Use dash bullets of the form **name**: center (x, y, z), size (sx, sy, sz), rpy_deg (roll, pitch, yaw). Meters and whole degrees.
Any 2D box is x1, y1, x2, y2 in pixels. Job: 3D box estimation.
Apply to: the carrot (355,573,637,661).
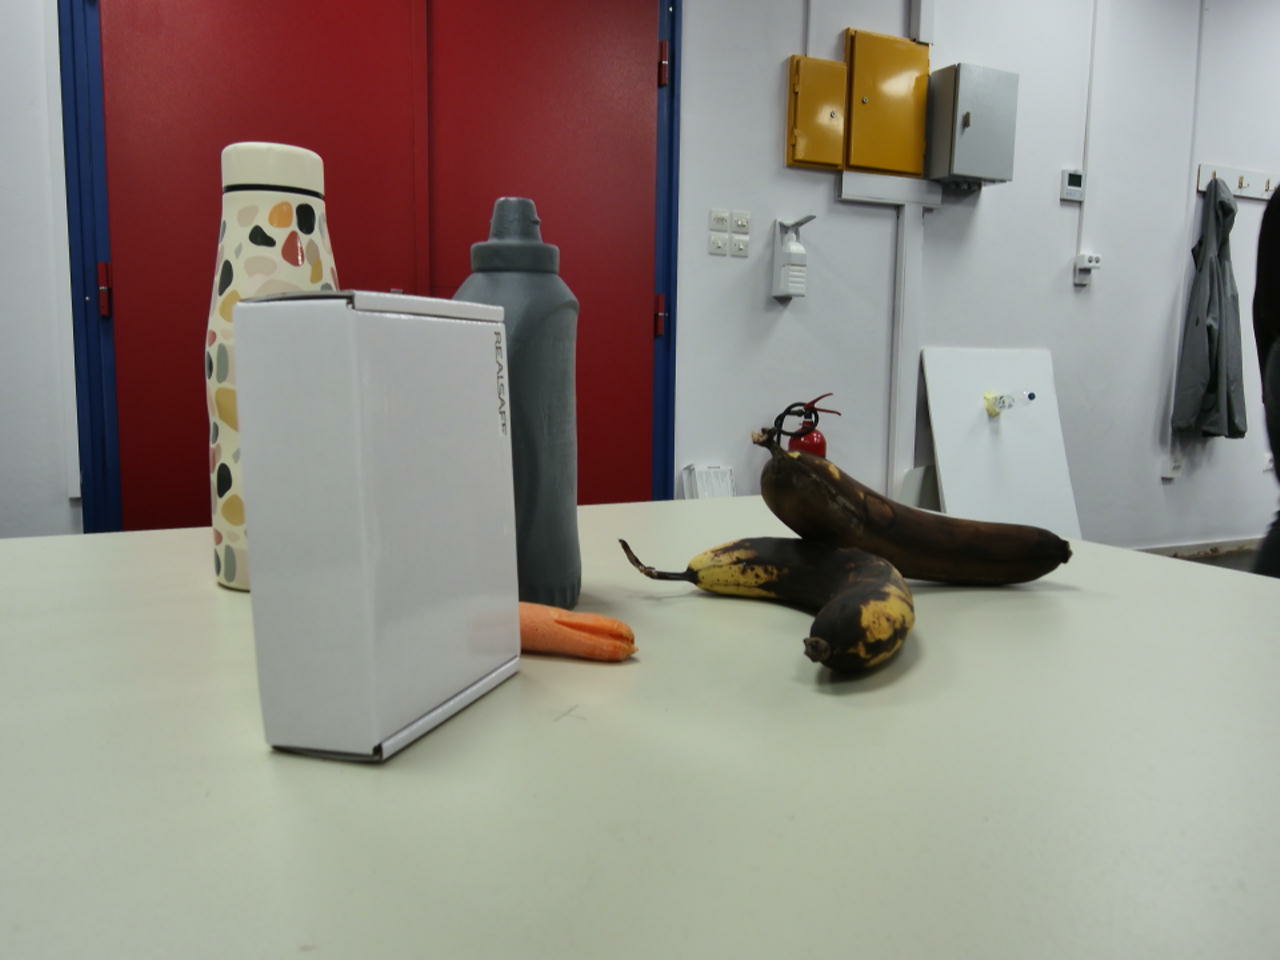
- **carrot**: center (-0.067, 0.061, 0.449), size (0.136, 0.032, 0.030), rpy_deg (2, 5, 20)
